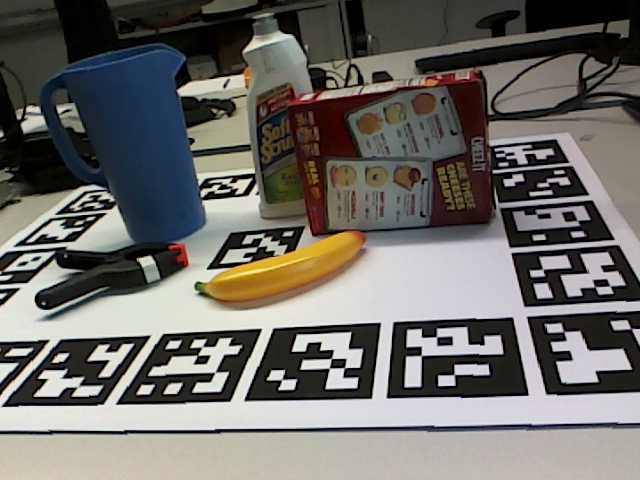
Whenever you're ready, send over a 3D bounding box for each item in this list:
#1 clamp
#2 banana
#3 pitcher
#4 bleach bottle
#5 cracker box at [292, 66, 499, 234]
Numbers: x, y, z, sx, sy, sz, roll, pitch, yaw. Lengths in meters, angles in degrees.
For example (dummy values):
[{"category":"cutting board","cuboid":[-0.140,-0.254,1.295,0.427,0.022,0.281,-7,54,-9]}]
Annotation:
[{"category":"clamp","cuboid":[-0.233,0.040,0.743,0.165,0.036,0.122,-11,22,-3]},{"category":"banana","cuboid":[-0.022,0.036,0.674,0.197,0.039,0.075,-20,24,-18]},{"category":"pitcher","cuboid":[-0.245,-0.127,0.816,0.188,0.242,0.134,-11,22,-6]},{"category":"bleach bottle","cuboid":[-0.053,-0.145,0.816,0.103,0.250,0.068,-6,23,13]},{"category":"cracker box","cuboid":[0.090,-0.102,0.725,0.214,0.164,0.072,-6,21,15]}]
